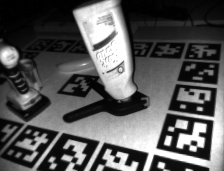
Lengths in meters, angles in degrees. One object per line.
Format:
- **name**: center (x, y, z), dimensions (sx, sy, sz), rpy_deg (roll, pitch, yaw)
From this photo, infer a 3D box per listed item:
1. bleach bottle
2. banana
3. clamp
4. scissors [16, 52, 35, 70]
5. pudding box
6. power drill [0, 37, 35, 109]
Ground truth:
- **bleach bottle**: center (0.008, -0.072, 0.494), dimensions (0.102, 0.253, 0.067), rpy_deg (-12, 34, 14)
- **banana**: center (-0.109, -0.107, 0.751), dimensions (0.198, 0.039, 0.073), rpy_deg (-20, 22, -7)
- **clamp**: center (-0.009, 0.014, 0.563), dimensions (0.201, 0.037, 0.165), rpy_deg (3, 44, 17)
- **scissors**: center (-0.309, -0.094, 0.655), dimensions (0.088, 0.016, 0.200), rpy_deg (-40, 51, -24)
- **pudding box**: center (-0.291, -0.039, 0.687), dimensions (0.112, 0.090, 0.039), rpy_deg (10, 38, 25)
- **power drill**: center (-0.284, -0.038, 0.560), dimensions (0.182, 0.188, 0.058), rpy_deg (15, 40, 34)
